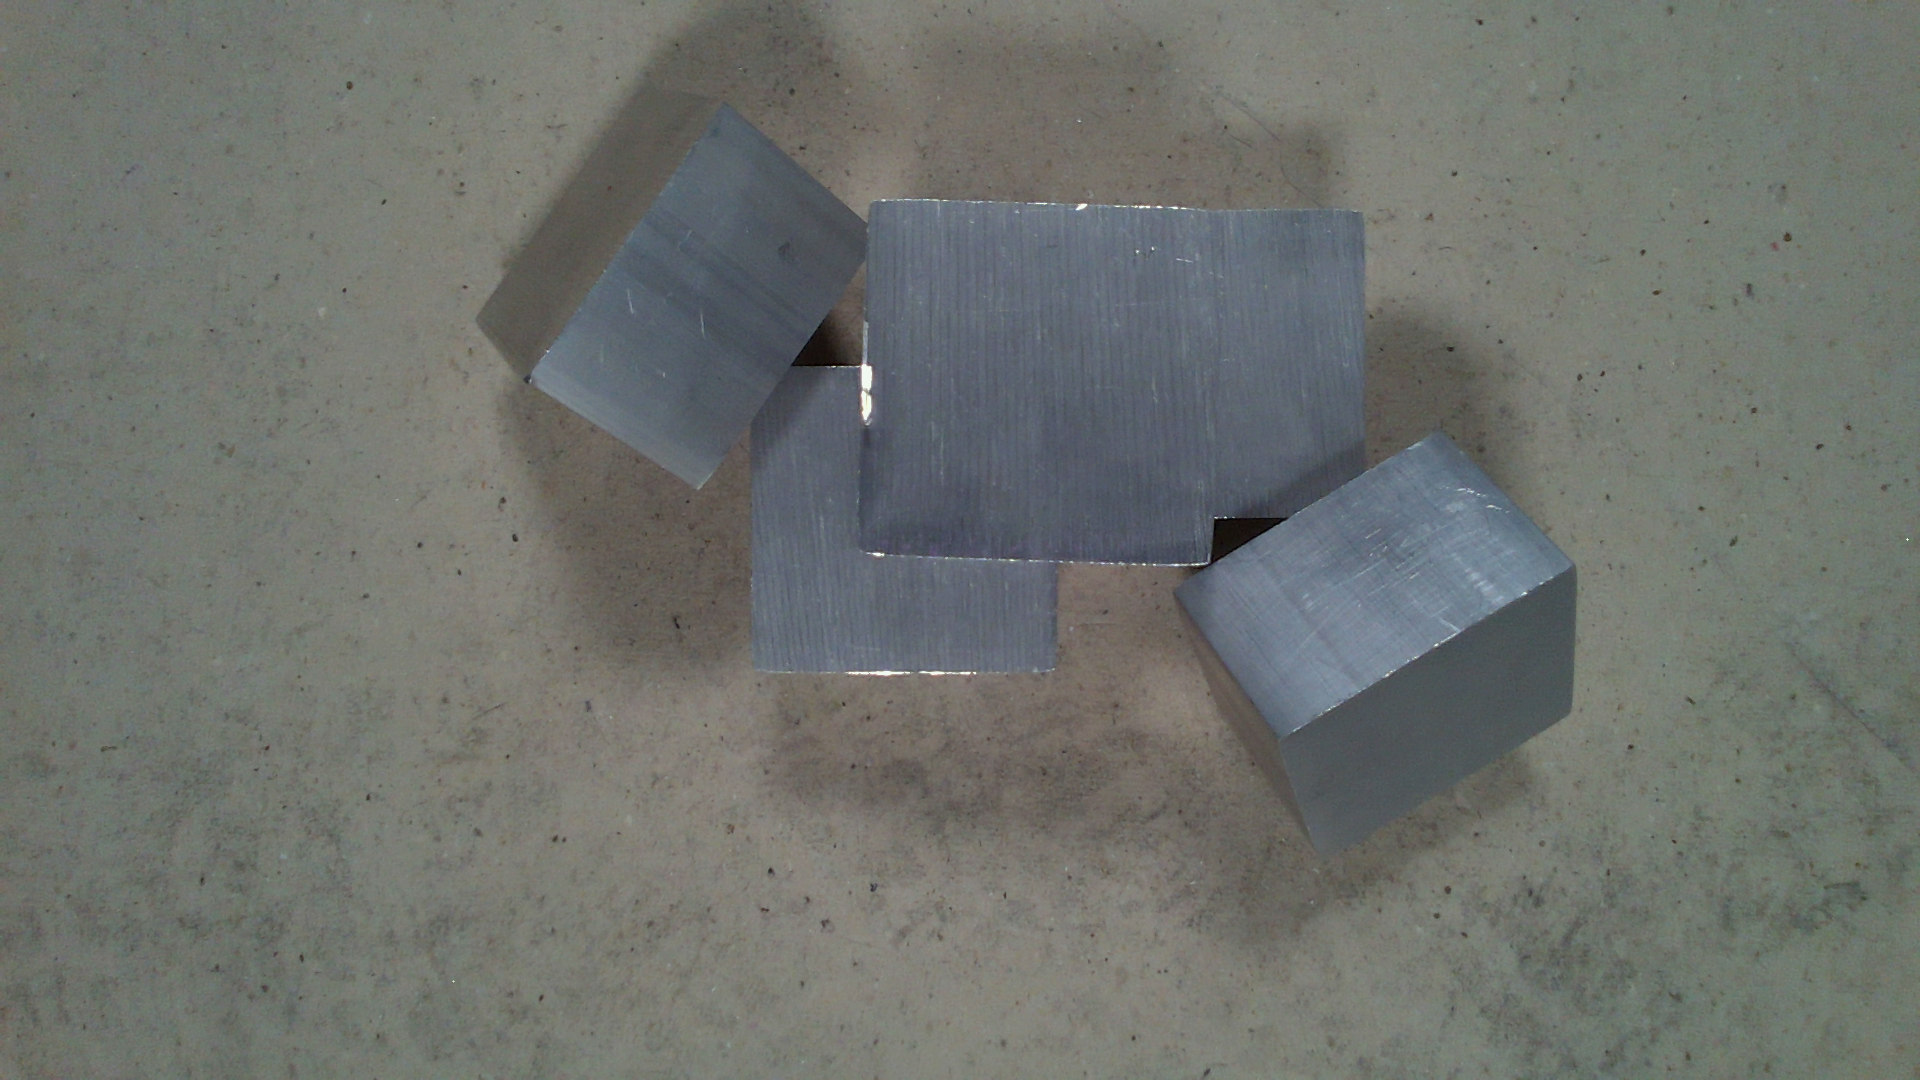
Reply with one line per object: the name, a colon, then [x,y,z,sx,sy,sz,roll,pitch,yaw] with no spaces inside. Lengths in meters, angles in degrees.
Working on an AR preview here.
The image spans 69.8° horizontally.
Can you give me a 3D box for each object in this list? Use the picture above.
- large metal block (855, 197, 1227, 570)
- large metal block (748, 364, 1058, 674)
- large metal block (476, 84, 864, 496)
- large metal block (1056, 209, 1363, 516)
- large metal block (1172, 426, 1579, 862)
large metal block: [0.018,-0.035,0.331,0.080,0.050,0.080,2,90,0]
large metal block: [-0.015,-0.006,0.381,0.080,0.050,0.080,0,90,0]
large metal block: [-0.077,-0.068,0.360,0.050,0.080,0.080,35,90,-33]
large metal block: [0.065,-0.046,0.384,0.080,0.050,0.080,0,90,0]
large metal block: [0.110,0.030,0.362,0.080,0.080,0.050,-31,52,0]
